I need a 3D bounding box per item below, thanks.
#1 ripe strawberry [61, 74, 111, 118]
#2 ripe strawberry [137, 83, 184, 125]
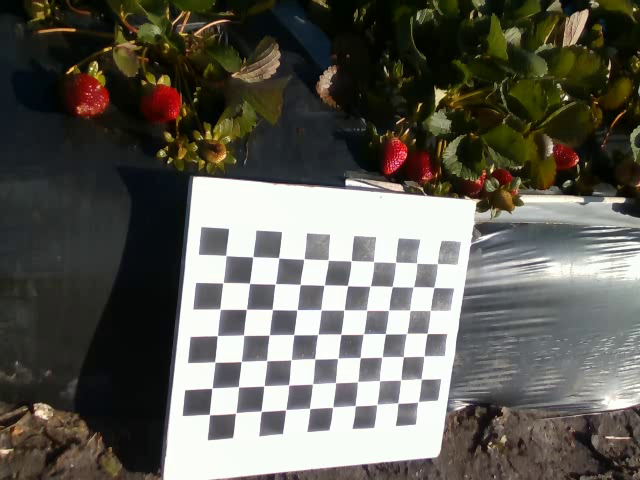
[{"bbox_3d":[-0.212,-0.125,0.505,0.050,0.045,0.050,22,25,-25],"label":"ripe strawberry"},{"bbox_3d":[-0.146,-0.125,0.535,0.049,0.042,0.039,43,-10,41],"label":"ripe strawberry"}]
